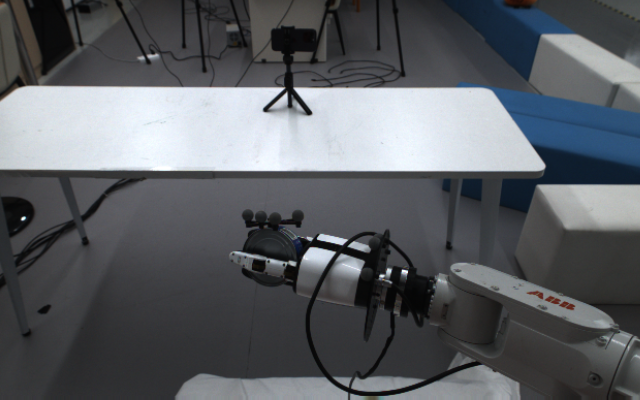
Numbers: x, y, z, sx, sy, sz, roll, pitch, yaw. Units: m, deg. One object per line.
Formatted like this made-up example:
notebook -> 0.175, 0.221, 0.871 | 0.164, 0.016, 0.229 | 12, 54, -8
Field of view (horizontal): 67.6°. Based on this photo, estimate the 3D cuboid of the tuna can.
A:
tuna can -> -0.066, 0.081, 0.704 | 0.085, 0.085, 0.034 | 15, 10, 18
